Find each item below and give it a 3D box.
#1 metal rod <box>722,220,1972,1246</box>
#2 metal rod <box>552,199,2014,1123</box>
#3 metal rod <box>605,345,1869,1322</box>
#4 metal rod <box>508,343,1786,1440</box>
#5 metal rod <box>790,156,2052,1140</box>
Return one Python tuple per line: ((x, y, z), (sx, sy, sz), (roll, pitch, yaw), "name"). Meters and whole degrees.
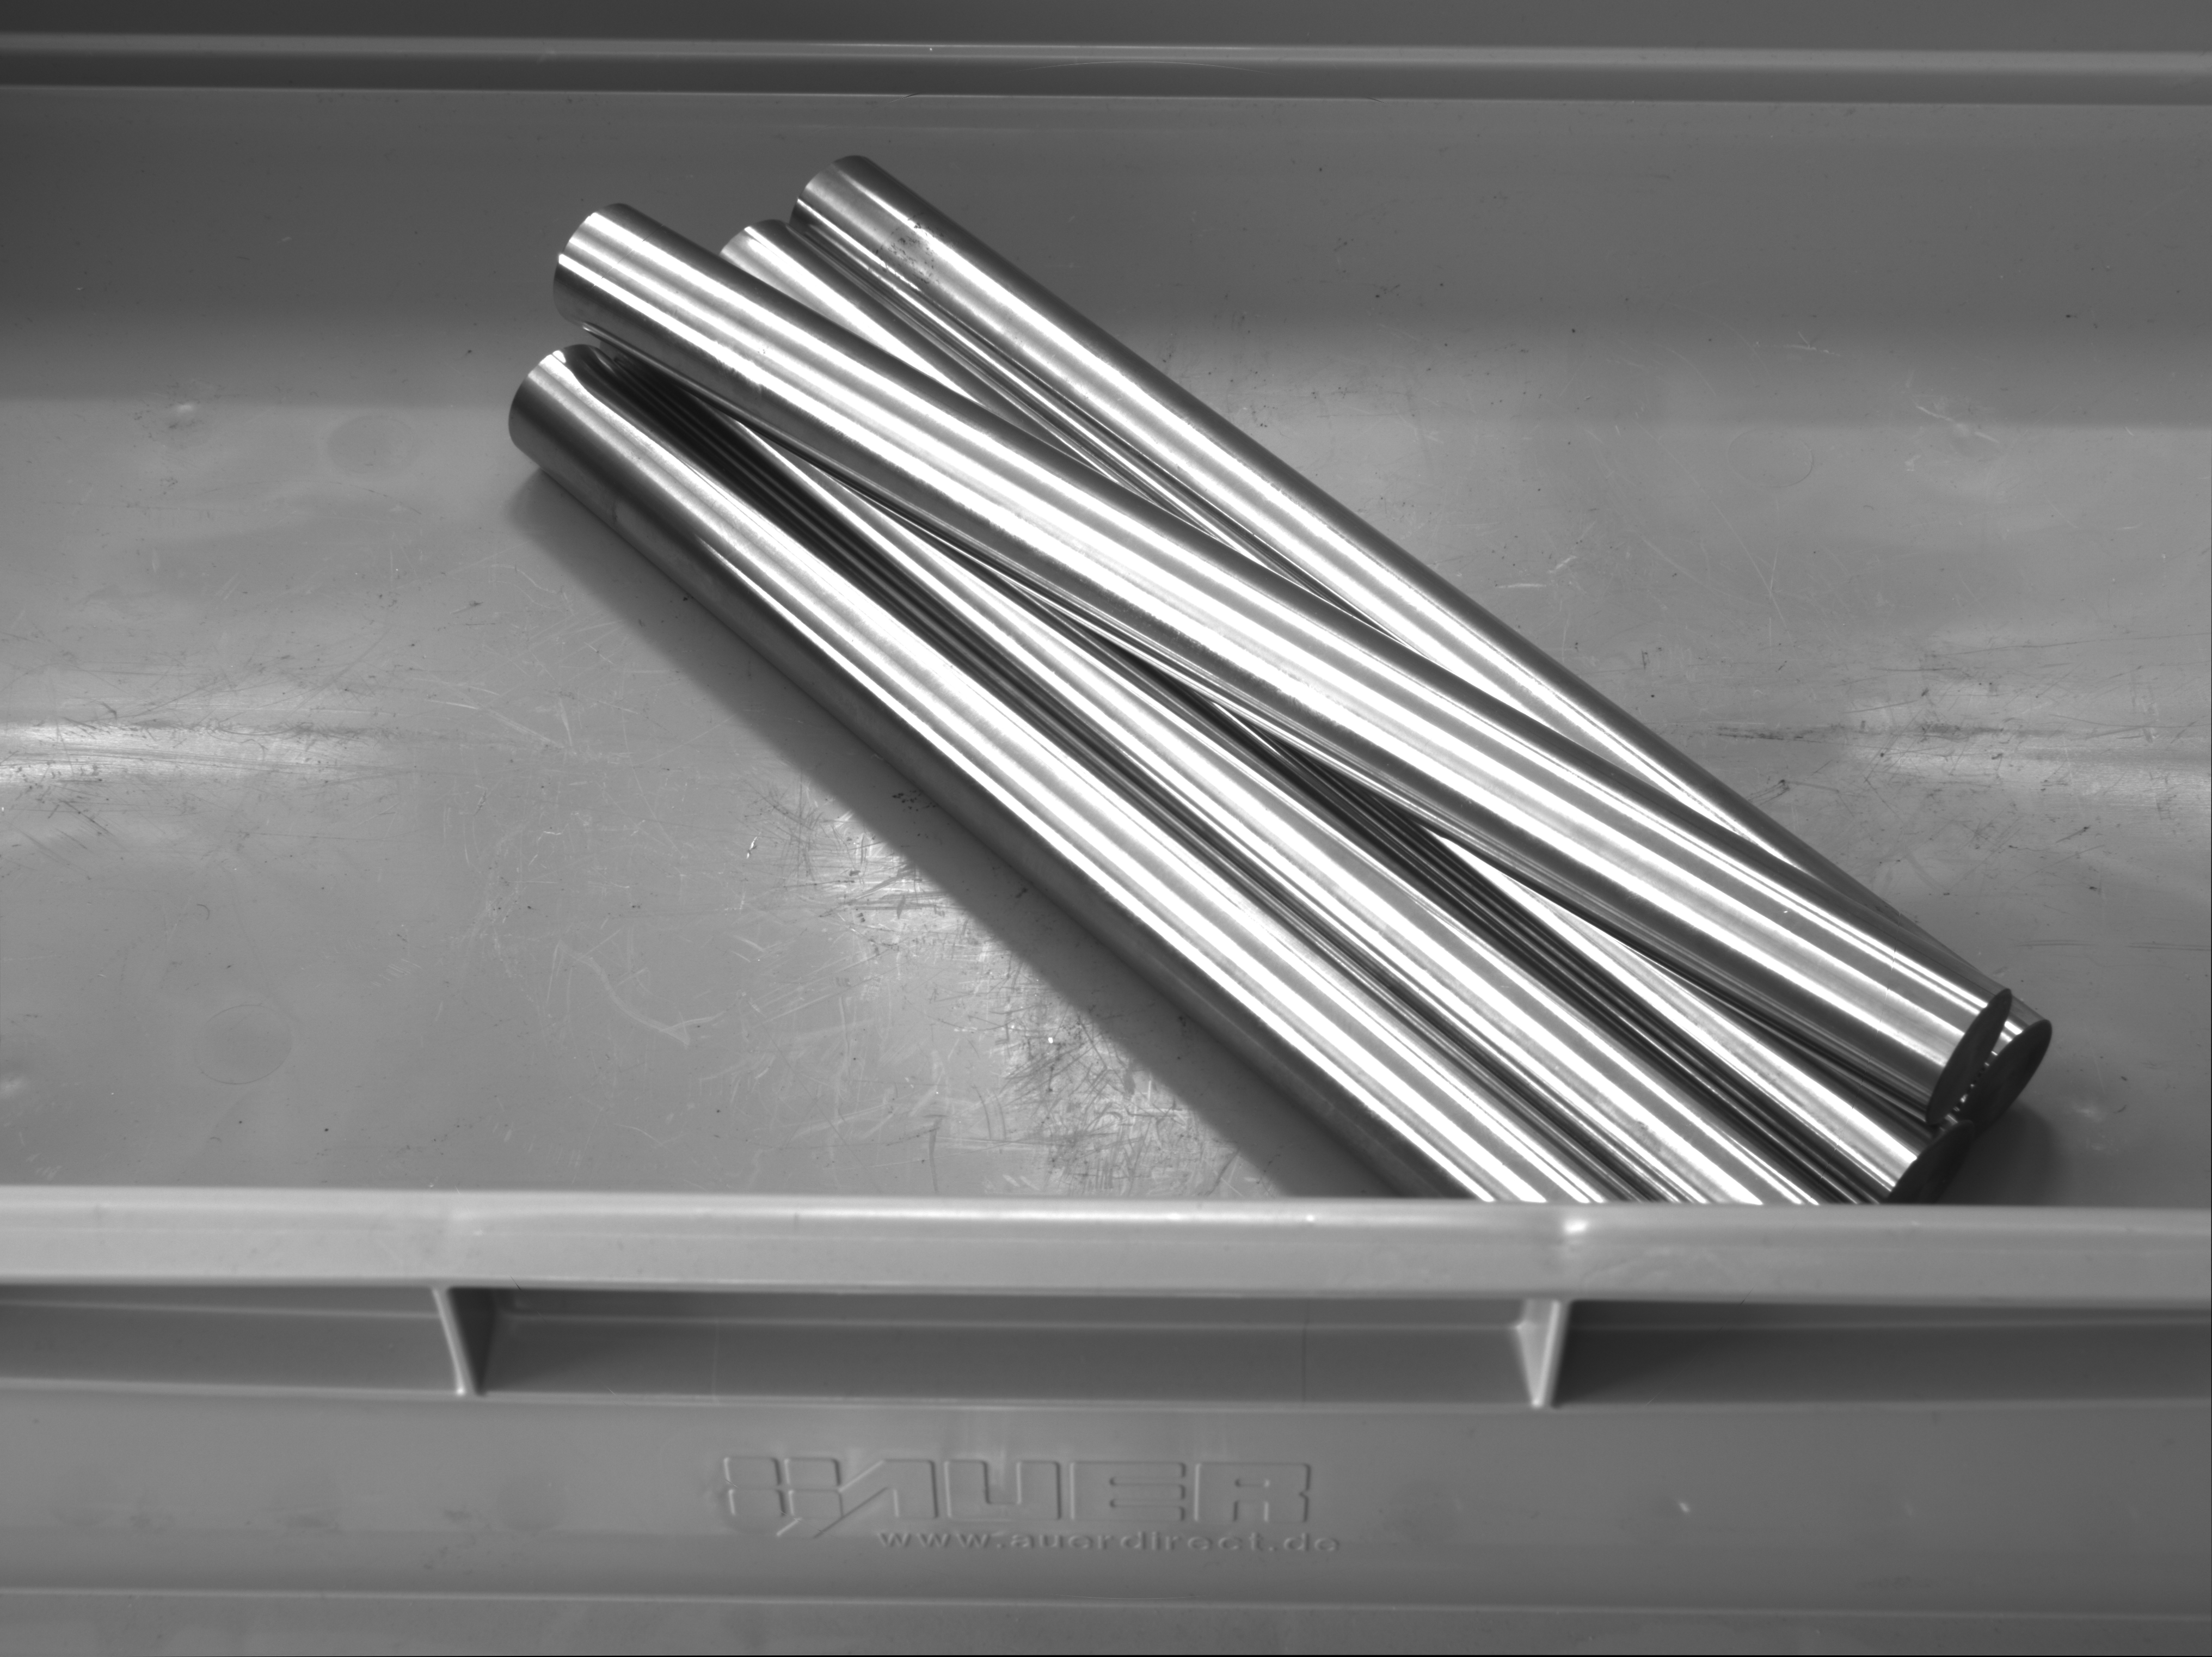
((0.030, -0.027, 0.663), (0.025, 0.025, 0.299), (-35, 58, -26), "metal rod")
((0.020, -0.036, 0.638), (0.299, 0.025, 0.025), (32, 57, 24), "metal rod")
((0.011, -0.014, 0.653), (0.025, 0.025, 0.299), (-35, 58, -26), "metal rod")
((-0.004, 0.001, 0.640), (0.025, 0.025, 0.299), (-35, 58, -26), "metal rod")
((0.046, -0.042, 0.676), (0.025, 0.025, 0.299), (-35, 58, -26), "metal rod")
